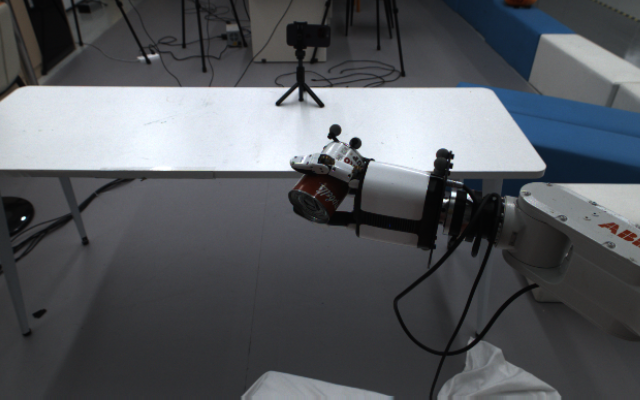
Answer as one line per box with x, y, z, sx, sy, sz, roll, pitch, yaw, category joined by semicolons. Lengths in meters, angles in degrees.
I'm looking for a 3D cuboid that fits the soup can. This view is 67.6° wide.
0.012;-0.027;0.681;0.067;0.067;0.101;22;60;26;soup can
